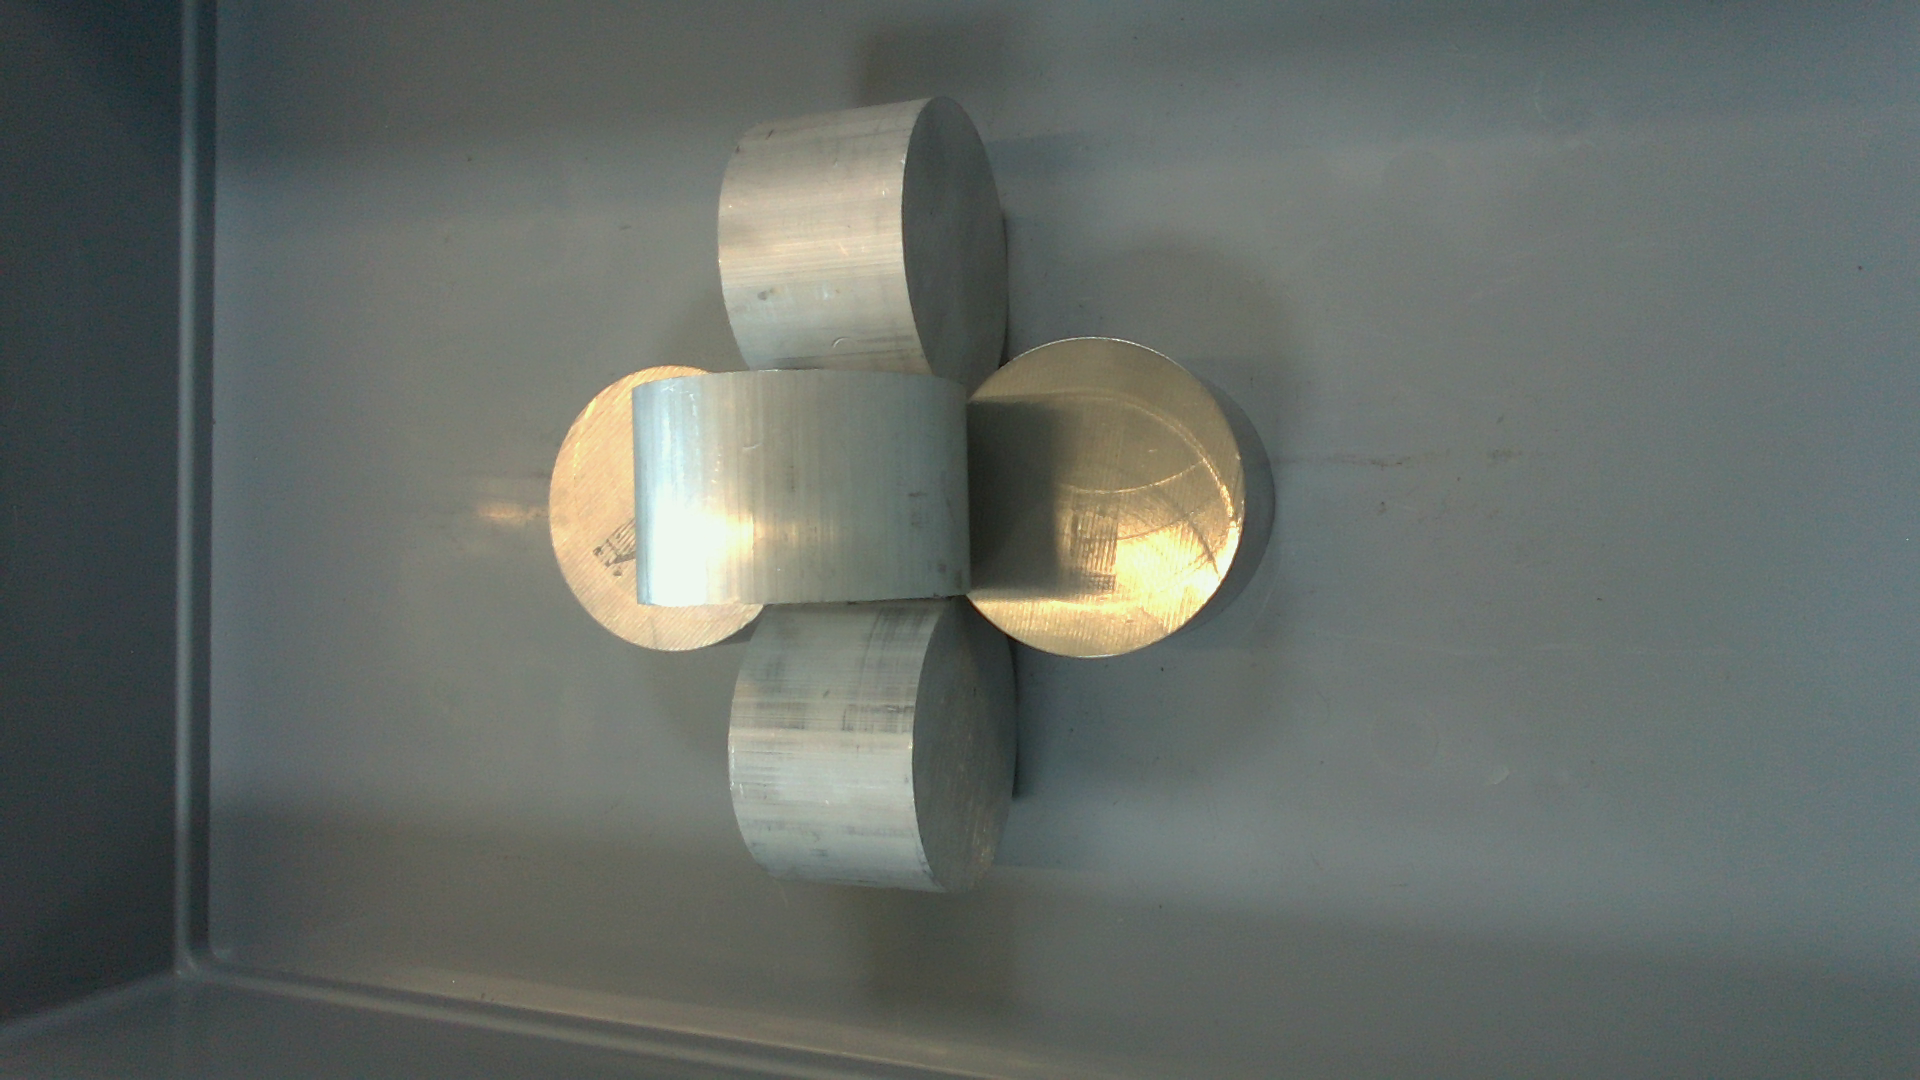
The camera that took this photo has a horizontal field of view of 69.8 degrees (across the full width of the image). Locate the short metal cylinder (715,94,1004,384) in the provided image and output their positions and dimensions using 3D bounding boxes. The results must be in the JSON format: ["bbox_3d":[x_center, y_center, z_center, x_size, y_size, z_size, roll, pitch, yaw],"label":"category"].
[{"bbox_3d":[-0.024,-0.076,0.373,0.050,0.080,0.080,-2,89,20],"label":"short metal cylinder"}]

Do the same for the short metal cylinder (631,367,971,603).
[{"bbox_3d":[-0.038,-0.011,0.332,0.080,0.080,0.050,-1,89,20],"label":"short metal cylinder"}]

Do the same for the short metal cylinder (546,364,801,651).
[{"bbox_3d":[-0.073,-0.009,0.408,0.080,0.050,0.080,0,90,20],"label":"short metal cylinder"}]

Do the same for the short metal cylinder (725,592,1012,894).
[{"bbox_3d":[-0.022,0.054,0.373,0.050,0.080,0.080,-2,89,20],"label":"short metal cylinder"}]

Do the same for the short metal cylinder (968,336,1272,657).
[{"bbox_3d":[0.039,-0.011,0.366,0.080,0.050,0.080,0,90,20],"label":"short metal cylinder"}]
